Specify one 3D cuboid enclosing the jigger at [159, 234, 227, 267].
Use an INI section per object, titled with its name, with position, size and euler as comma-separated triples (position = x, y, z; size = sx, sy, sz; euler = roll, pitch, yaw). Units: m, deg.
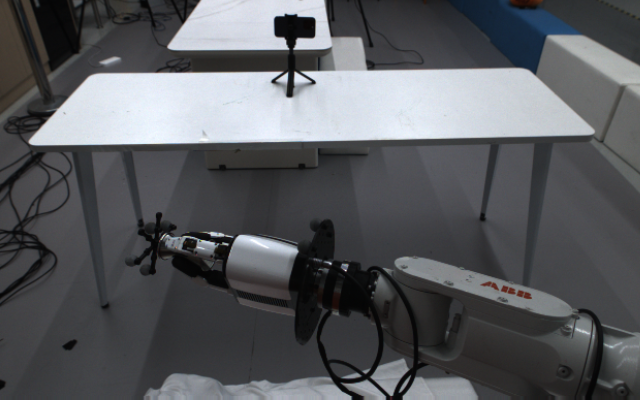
[jigger]
position = -0.175, 0.066, 0.659
size = 0.071, 0.043, 0.043
euler = 10, 35, 16
